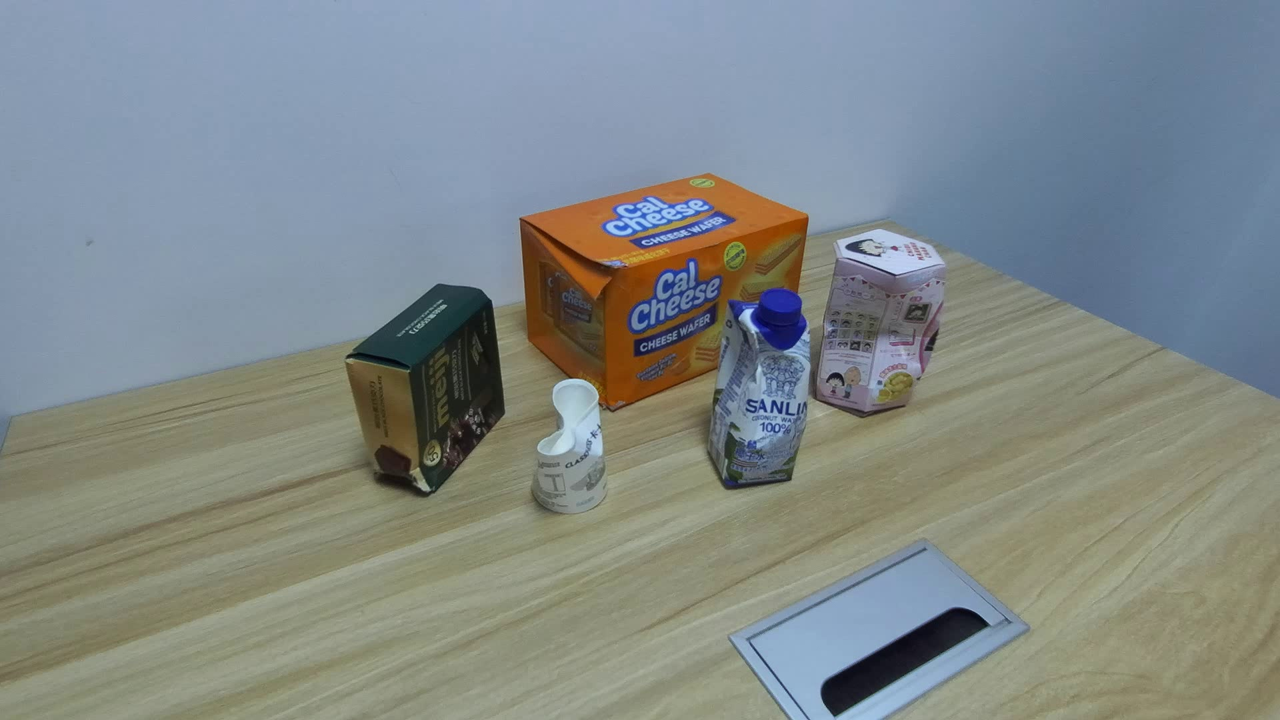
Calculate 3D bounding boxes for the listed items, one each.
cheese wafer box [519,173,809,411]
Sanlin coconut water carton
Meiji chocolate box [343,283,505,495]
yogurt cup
[{"bbox_3d":[0.021,-0.075,0.652,0.228,0.137,0.149,-20,39,-29],"label":"cheese wafer box"},{"bbox_3d":[0.089,0.016,0.505,0.057,0.144,0.068,-1,24,-17],"label":"Sanlin coconut water carton"},{"bbox_3d":[-0.155,0.018,0.528,0.058,0.116,0.123,12,33,16],"label":"Meiji chocolate box"},{"bbox_3d":[-0.051,0.063,0.493,0.054,0.071,0.075,-11,34,-18],"label":"yogurt cup"}]
